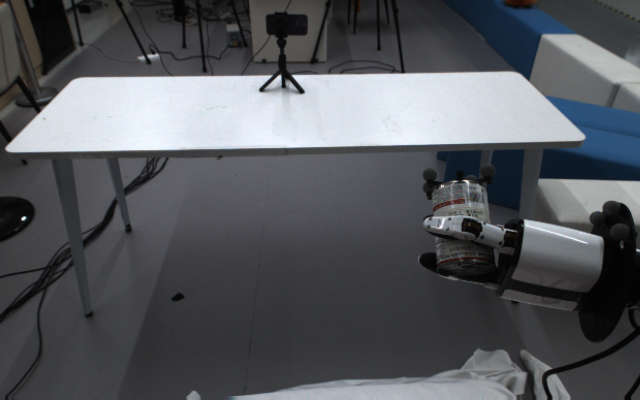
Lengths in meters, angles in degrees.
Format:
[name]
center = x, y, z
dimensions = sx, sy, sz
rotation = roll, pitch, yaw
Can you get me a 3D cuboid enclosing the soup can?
[soup can]
center = 0.174, 0.035, 0.587
dimensions = 0.067, 0.067, 0.101
rotation = 2, 68, 0
